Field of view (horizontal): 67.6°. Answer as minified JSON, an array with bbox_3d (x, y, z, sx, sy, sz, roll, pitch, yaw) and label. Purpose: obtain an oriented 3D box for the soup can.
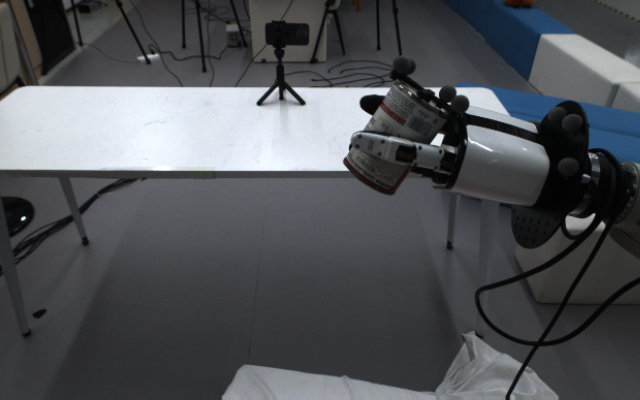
[{"bbox_3d":[0.081,-0.066,0.514,0.067,0.101,0.067,28,22,-12],"label":"soup can"}]
